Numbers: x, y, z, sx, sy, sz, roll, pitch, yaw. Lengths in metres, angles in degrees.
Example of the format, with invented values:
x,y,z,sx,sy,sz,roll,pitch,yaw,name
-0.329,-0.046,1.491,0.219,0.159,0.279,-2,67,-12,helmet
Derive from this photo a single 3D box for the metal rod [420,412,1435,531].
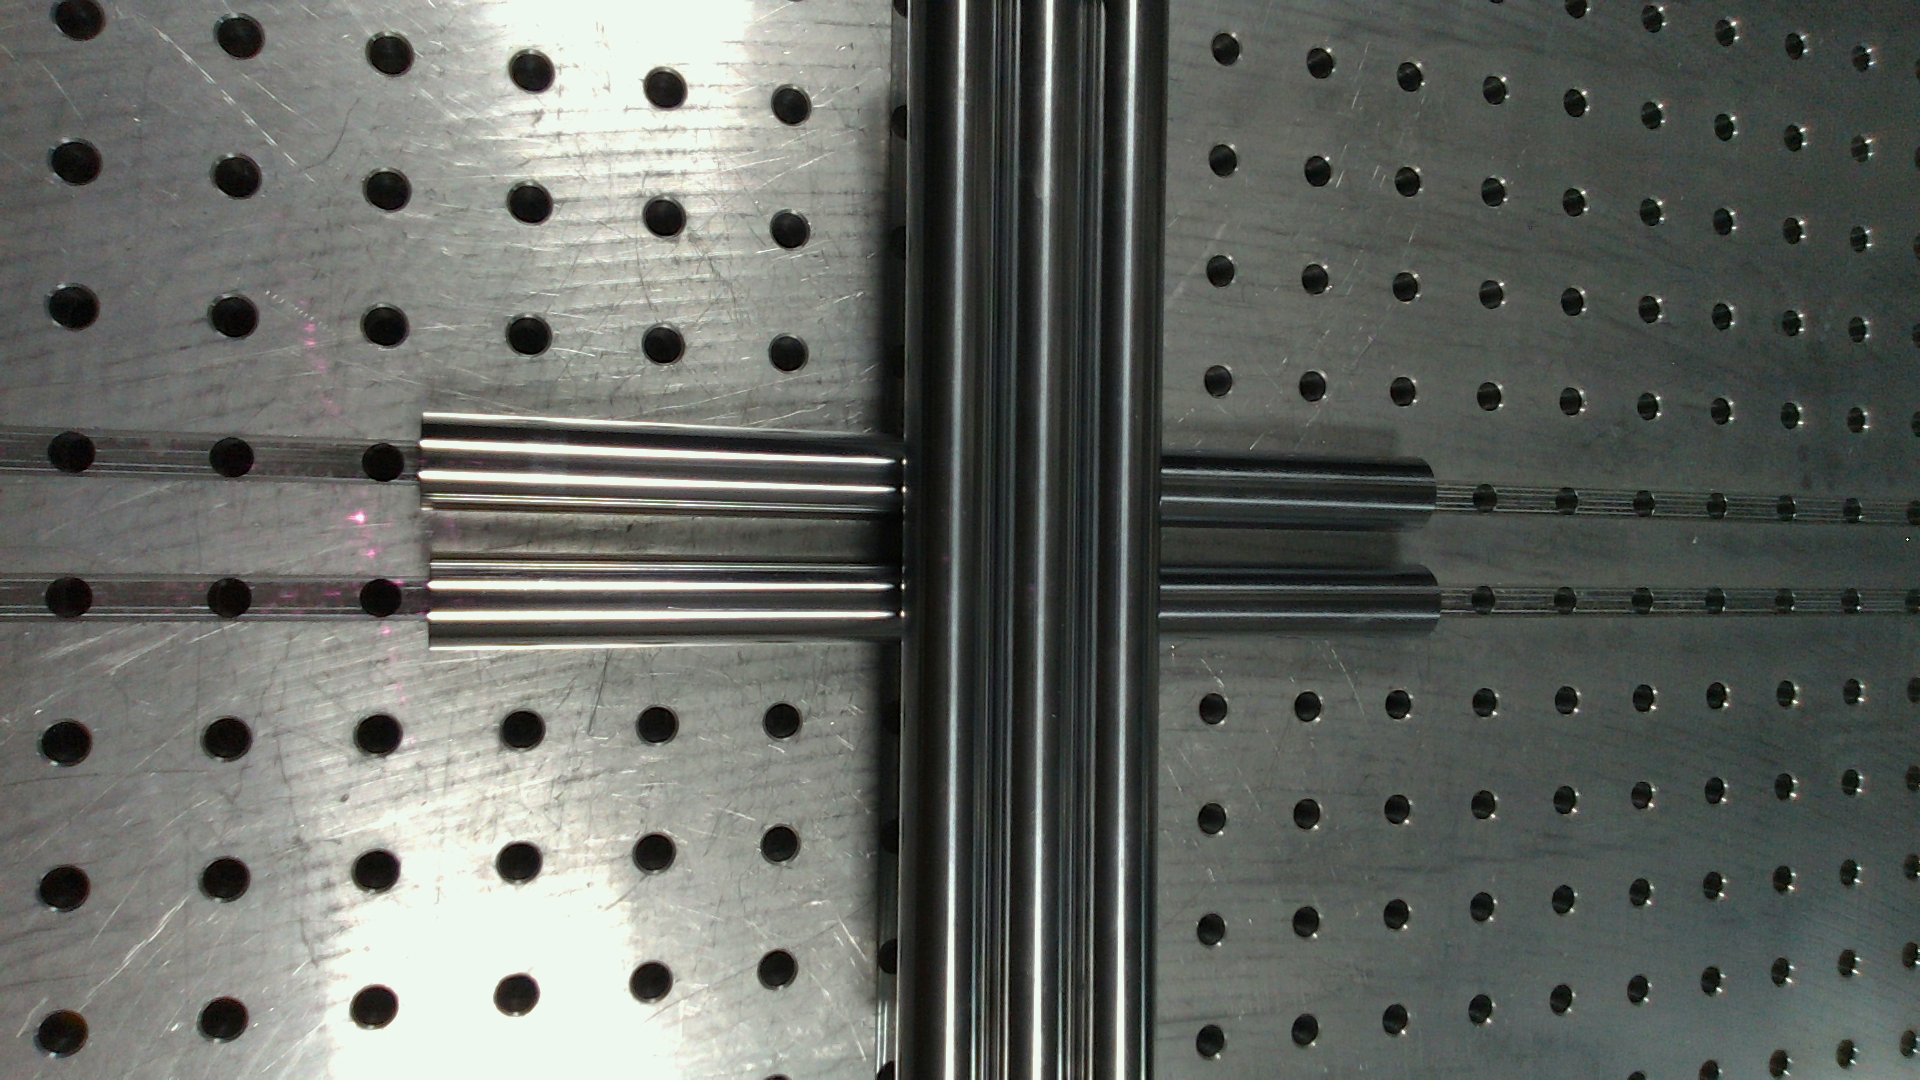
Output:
x,y,z,sx,sy,sz,roll,pitch,yaw,name
0.006,-0.018,0.398,0.301,0.025,0.025,1,90,-20,metal rod

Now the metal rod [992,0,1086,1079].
x,y,z,sx,sy,sz,roll,pitch,yaw,name
0.021,0.001,0.377,0.025,0.025,0.300,1,90,-20,metal rod

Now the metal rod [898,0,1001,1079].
x,y,z,sx,sy,sz,roll,pitch,yaw,name
-0.003,0.002,0.369,0.025,0.025,0.300,1,90,-20,metal rod

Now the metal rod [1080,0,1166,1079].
x,y,z,sx,sy,sz,roll,pitch,yaw,name
0.044,0.000,0.386,0.025,0.025,0.300,1,90,-20,metal rod

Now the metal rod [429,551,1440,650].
x,y,z,sx,sy,sz,roll,pitch,yaw,name
0.008,0.017,0.399,0.301,0.025,0.025,1,90,-20,metal rod
